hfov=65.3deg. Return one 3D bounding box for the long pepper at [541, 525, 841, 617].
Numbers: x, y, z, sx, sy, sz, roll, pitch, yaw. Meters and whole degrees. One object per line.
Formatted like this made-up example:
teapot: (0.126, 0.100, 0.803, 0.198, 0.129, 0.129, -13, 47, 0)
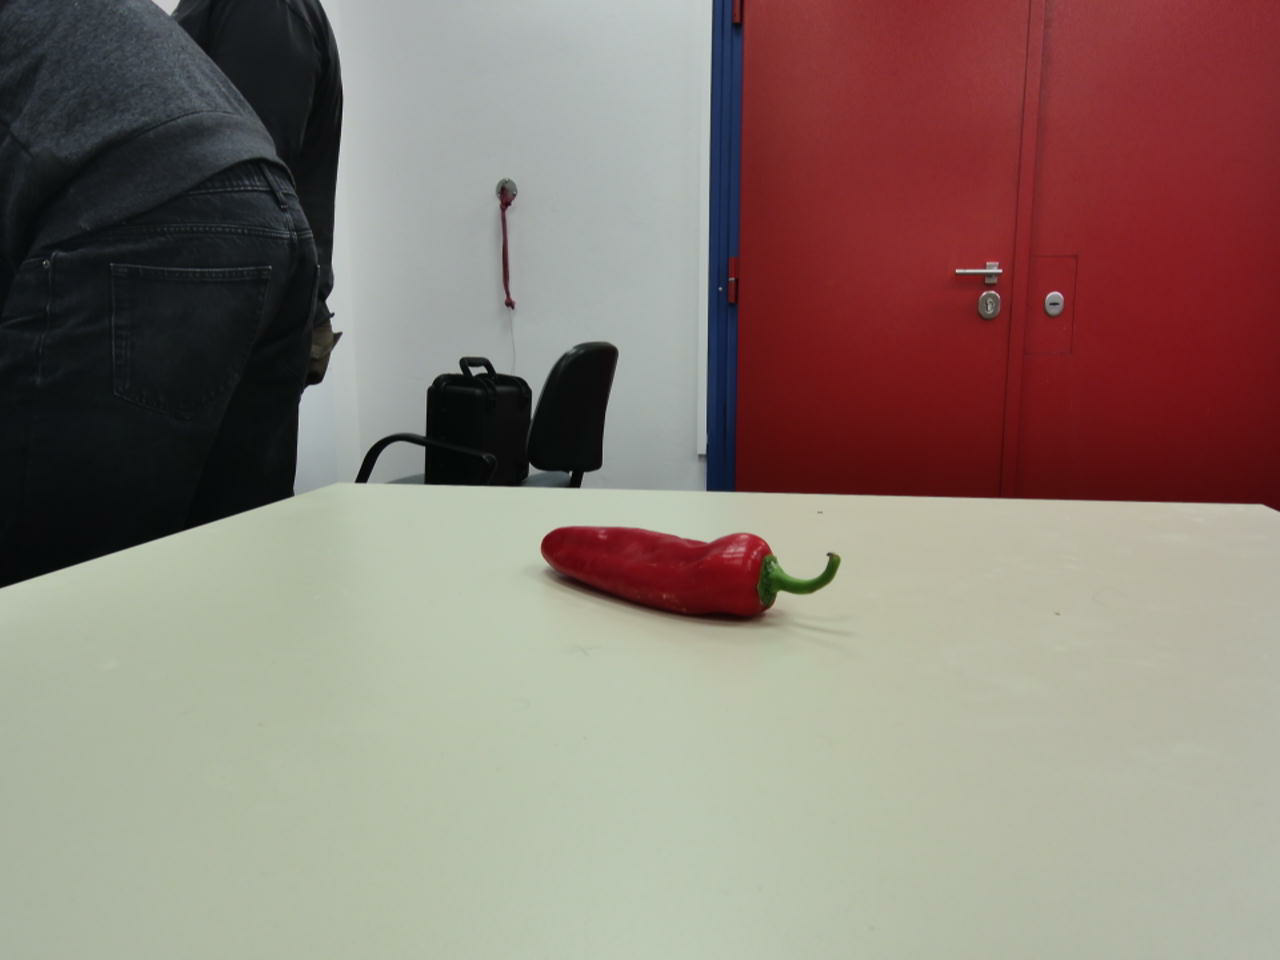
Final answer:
long pepper: (0.012, 0.045, 0.545, 0.211, 0.043, 0.050, 6, 9, 43)
